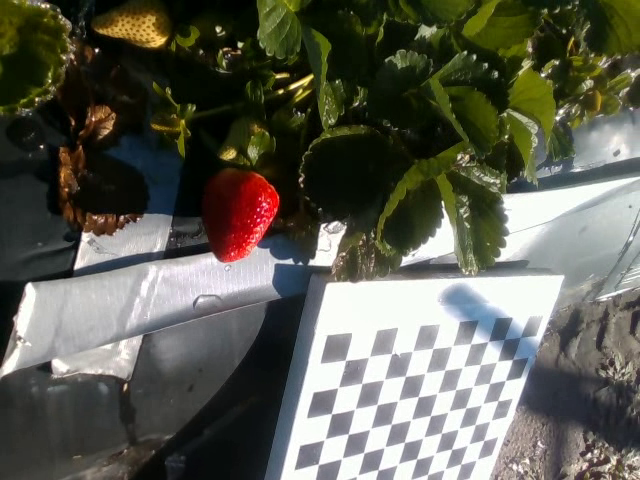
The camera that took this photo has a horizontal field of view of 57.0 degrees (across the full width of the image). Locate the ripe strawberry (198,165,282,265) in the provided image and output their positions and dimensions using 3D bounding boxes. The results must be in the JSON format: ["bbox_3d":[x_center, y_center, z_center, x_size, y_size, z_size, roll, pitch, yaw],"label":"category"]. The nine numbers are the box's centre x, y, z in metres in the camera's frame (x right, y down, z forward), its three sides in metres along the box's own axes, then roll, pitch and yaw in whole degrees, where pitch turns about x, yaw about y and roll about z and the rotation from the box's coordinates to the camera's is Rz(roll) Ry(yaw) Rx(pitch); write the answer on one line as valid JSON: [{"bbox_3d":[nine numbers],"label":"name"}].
[{"bbox_3d":[-0.051,-0.009,0.383,0.057,0.065,0.061,-17,-40,29],"label":"ripe strawberry"}]
